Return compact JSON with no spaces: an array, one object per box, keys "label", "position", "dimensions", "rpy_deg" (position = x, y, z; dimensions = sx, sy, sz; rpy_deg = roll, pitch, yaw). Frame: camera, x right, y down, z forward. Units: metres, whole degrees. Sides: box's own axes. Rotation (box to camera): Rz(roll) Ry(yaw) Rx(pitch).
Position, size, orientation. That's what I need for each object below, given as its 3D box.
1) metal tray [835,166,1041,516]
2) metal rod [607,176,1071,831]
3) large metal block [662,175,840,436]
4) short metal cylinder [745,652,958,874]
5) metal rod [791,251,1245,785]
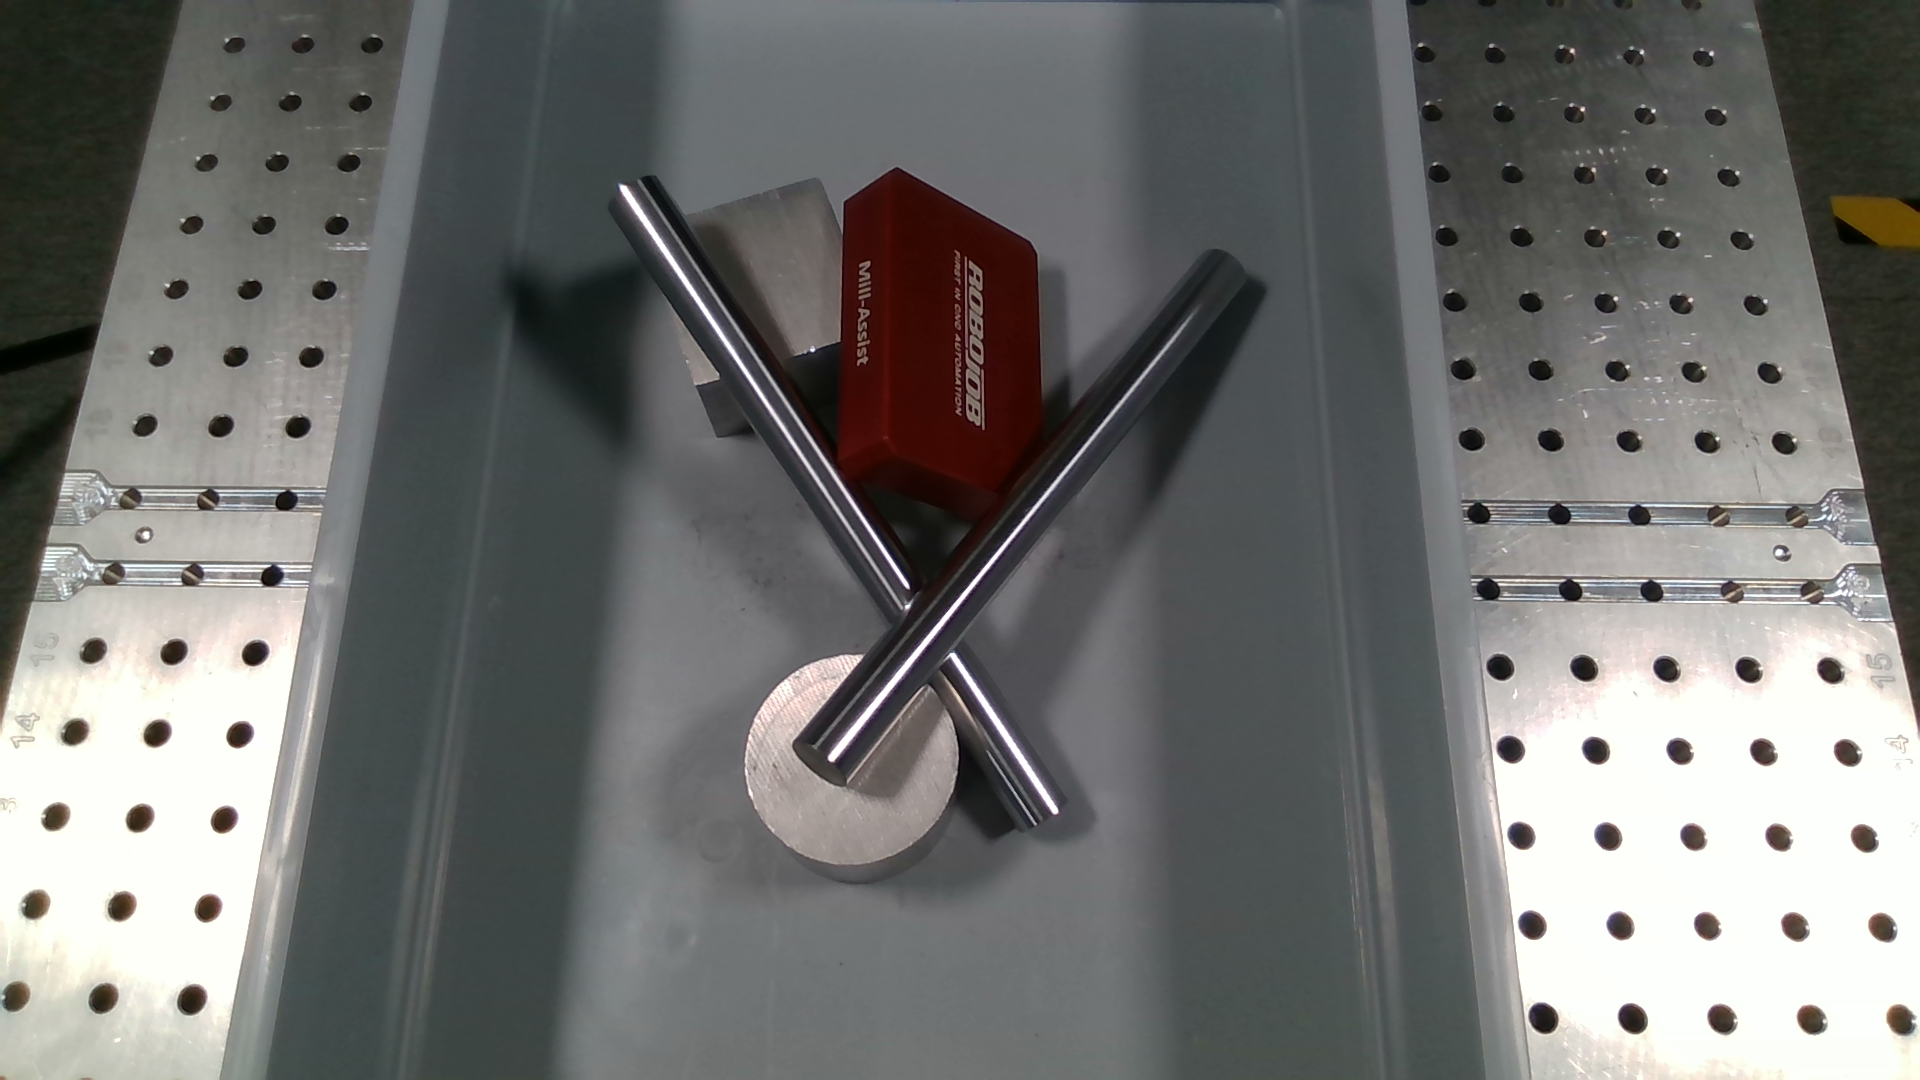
[{"label":"metal tray","position":[-0.007,-0.081,0.584],"dimensions":[0.090,0.030,0.130],"rpy_deg":[19,62,-41]},{"label":"metal rod","position":[-0.049,-0.016,0.553],"dimensions":[0.025,0.025,0.300],"rpy_deg":[-33,87,-11]},{"label":"large metal block","position":[-0.086,-0.103,0.607],"dimensions":[0.080,0.050,0.080],"rpy_deg":[-18,71,-6]},{"label":"short metal cylinder","position":[-0.041,0.089,0.541],"dimensions":[0.080,0.050,0.080],"rpy_deg":[0,70,0]},{"label":"metal rod","position":[0.035,-0.022,0.564],"dimensions":[0.025,0.025,0.299],"rpy_deg":[34,61,11]}]
